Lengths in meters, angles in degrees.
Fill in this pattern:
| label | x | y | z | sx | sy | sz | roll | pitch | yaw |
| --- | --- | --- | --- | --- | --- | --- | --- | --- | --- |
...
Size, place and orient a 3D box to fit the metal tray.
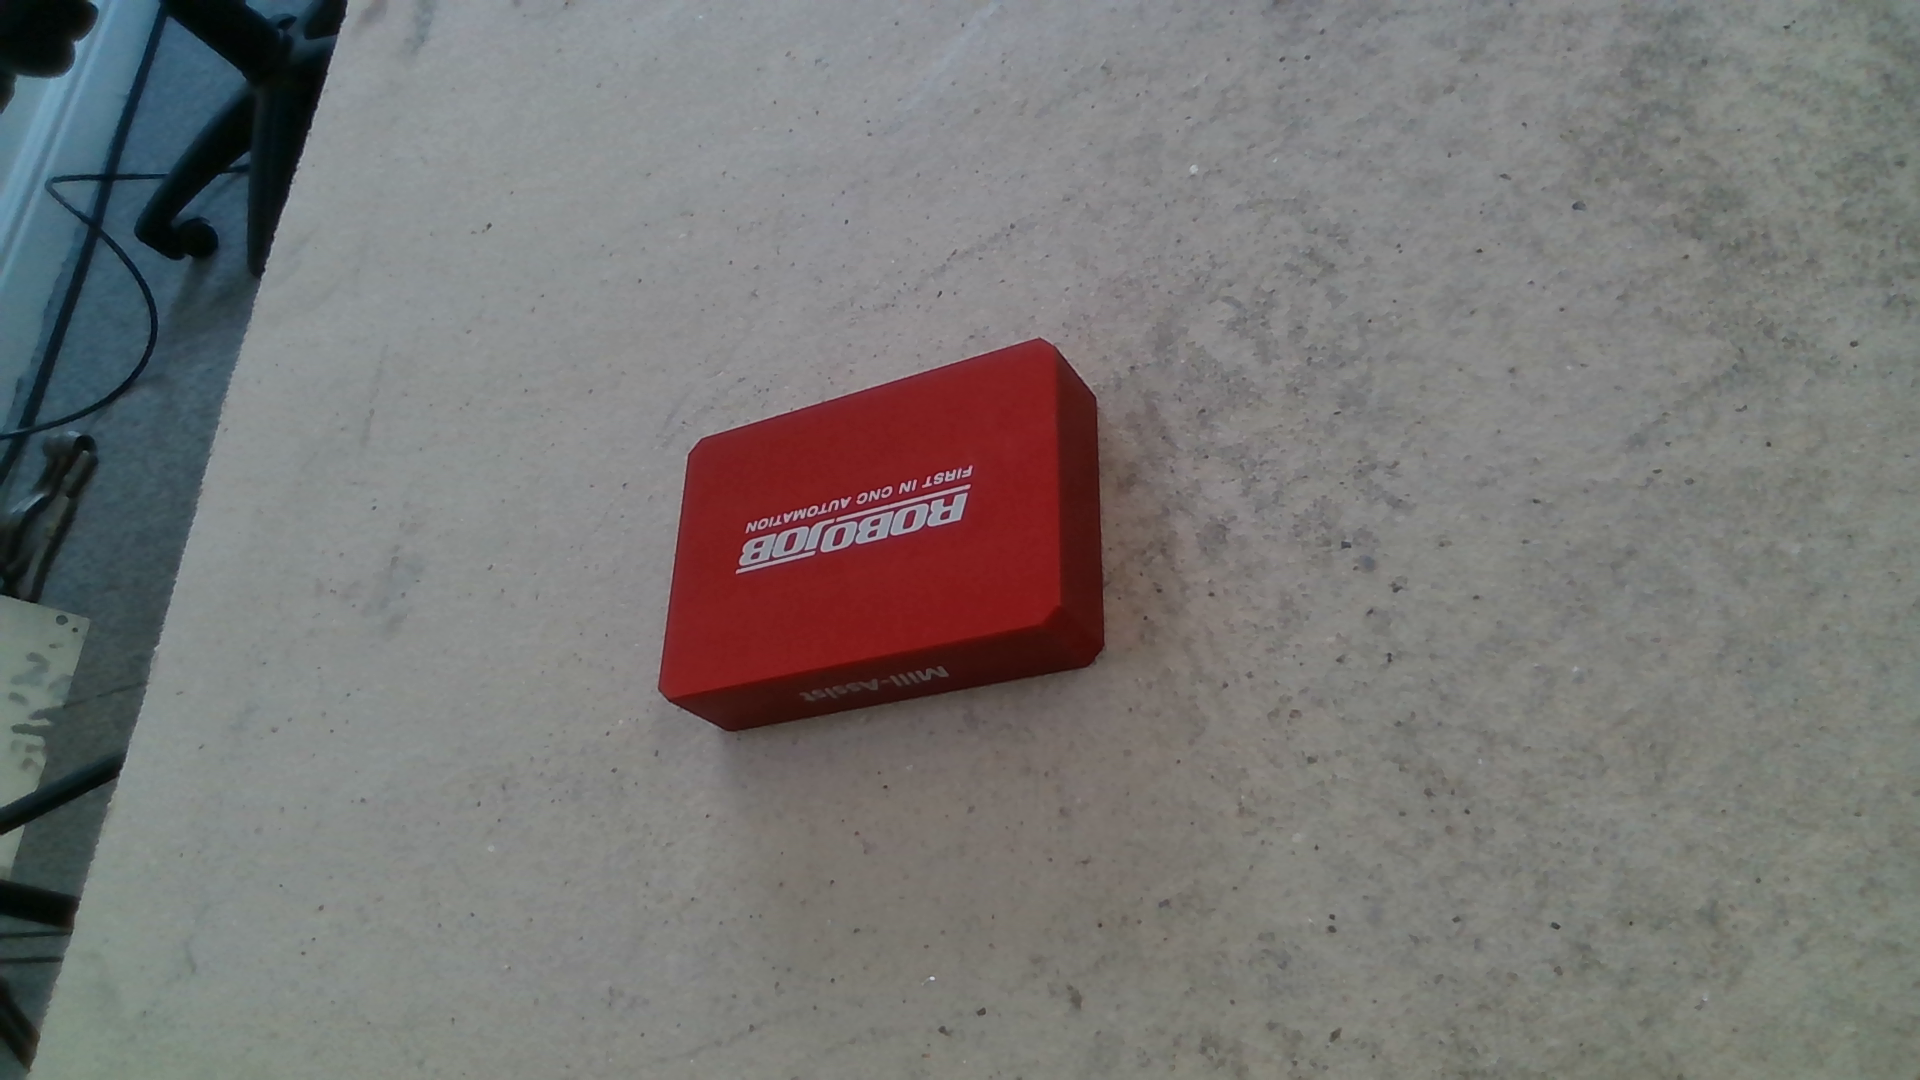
| label | x | y | z | sx | sy | sz | roll | pitch | yaw |
| --- | --- | --- | --- | --- | --- | --- | --- | --- | --- |
| metal tray | -0.025 | 0.000 | 0.404 | 0.130 | 0.030 | 0.090 | -14 | 60 | 26 |
